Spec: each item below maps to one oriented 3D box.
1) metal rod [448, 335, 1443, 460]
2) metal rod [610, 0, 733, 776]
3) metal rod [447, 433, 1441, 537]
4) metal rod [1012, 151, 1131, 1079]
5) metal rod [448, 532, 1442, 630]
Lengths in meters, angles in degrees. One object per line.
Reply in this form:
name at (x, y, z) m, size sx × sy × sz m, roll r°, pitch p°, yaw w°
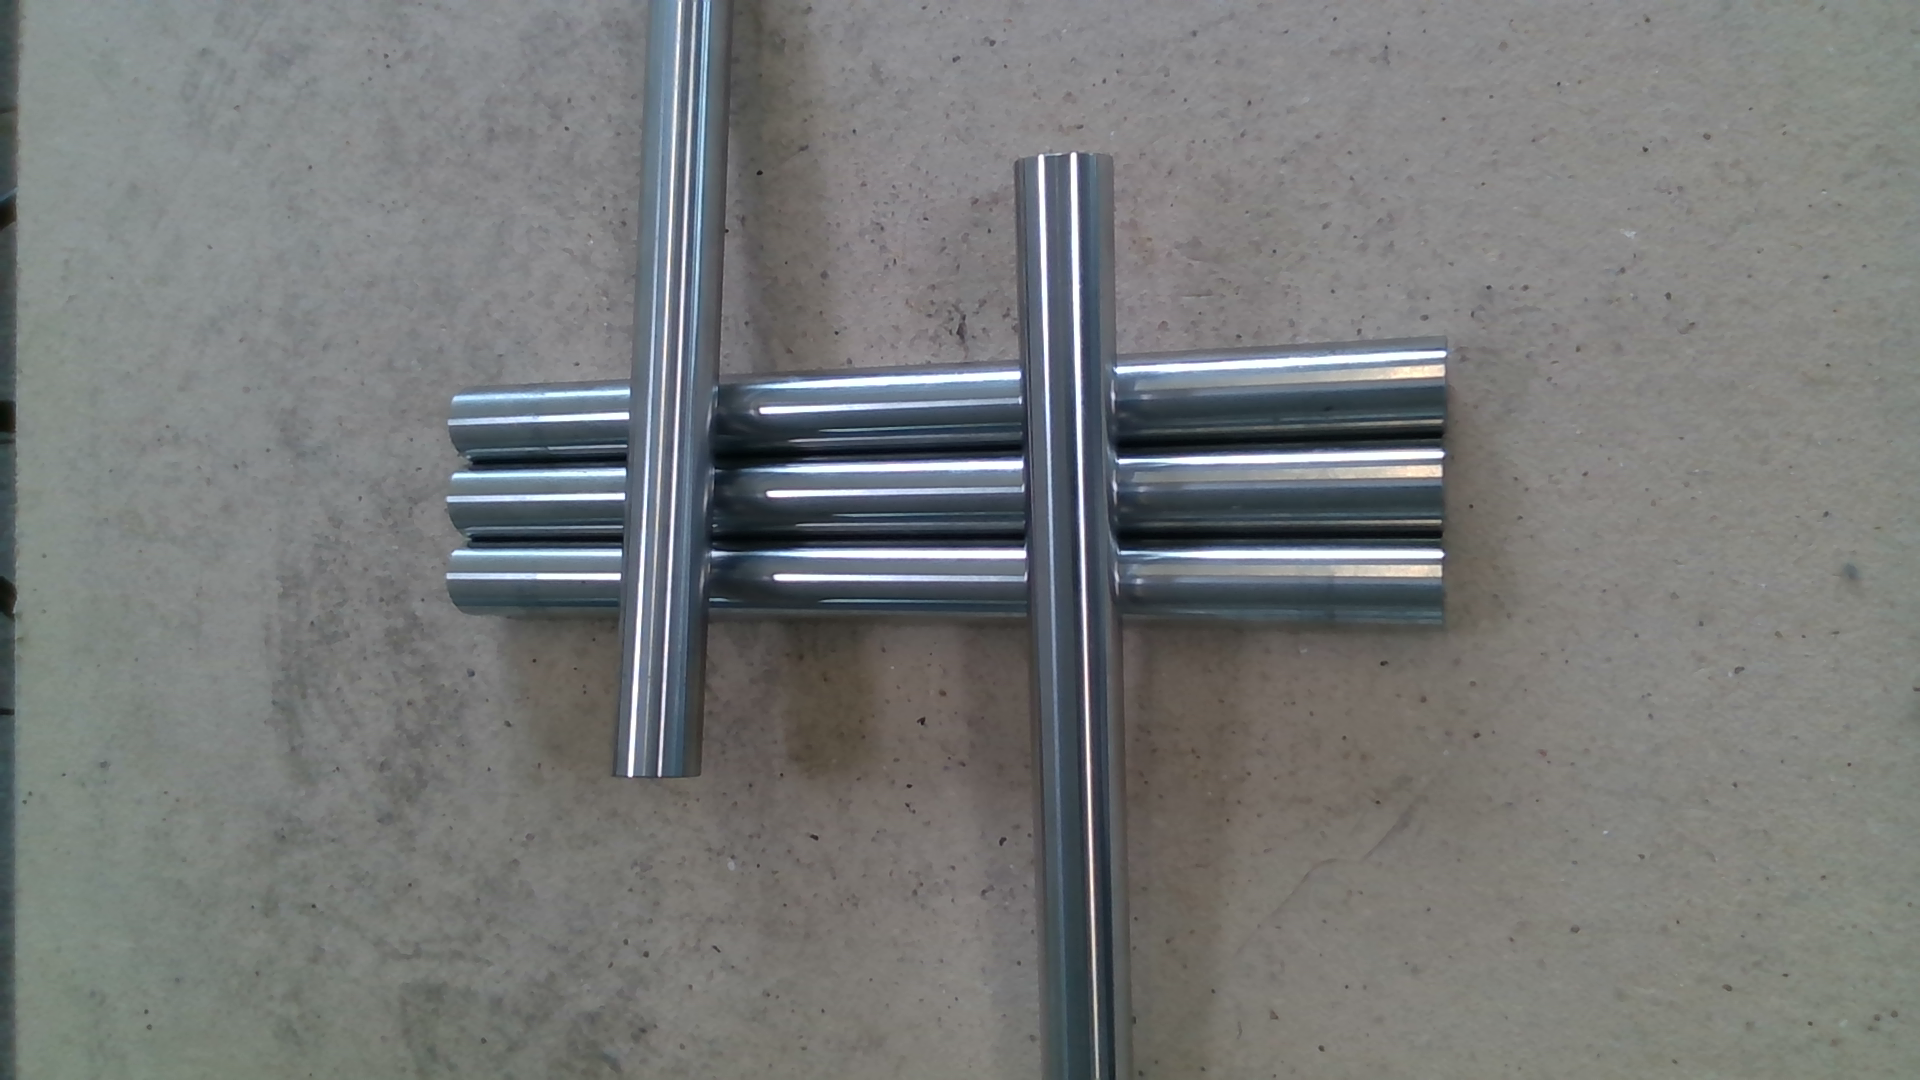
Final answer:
metal rod at (-0.019, -0.039, 0.400) m, size 0.300 × 0.025 × 0.025 m, roll 0°, pitch 90°, yaw 20°
metal rod at (-0.082, -0.083, 0.403) m, size 0.025 × 0.025 × 0.300 m, roll -1°, pitch 83°, yaw 20°
metal rod at (-0.019, -0.014, 0.400) m, size 0.300 × 0.025 × 0.025 m, roll 0°, pitch 90°, yaw 20°
metal rod at (0.031, 0.054, 0.363) m, size 0.025 × 0.025 × 0.300 m, roll 1°, pitch 98°, yaw 20°
metal rod at (-0.019, 0.011, 0.400) m, size 0.300 × 0.025 × 0.025 m, roll 0°, pitch 90°, yaw 20°
